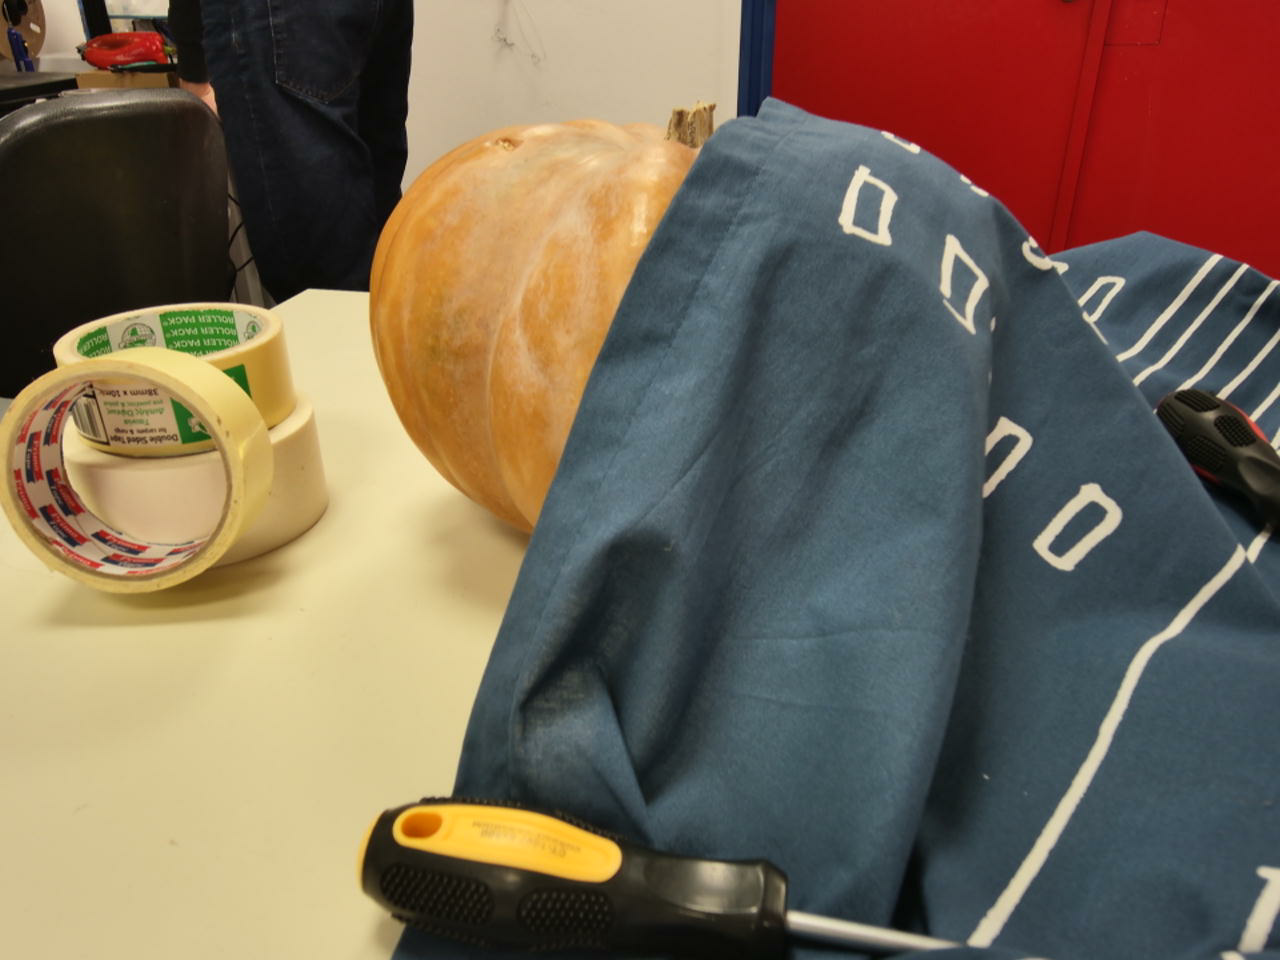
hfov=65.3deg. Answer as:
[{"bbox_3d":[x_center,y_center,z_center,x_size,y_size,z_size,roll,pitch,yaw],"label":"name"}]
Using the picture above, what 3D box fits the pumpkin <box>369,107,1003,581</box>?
[{"bbox_3d":[0.017,-0.068,0.436,0.277,0.181,0.277,0,25,0],"label":"pumpkin"}]
